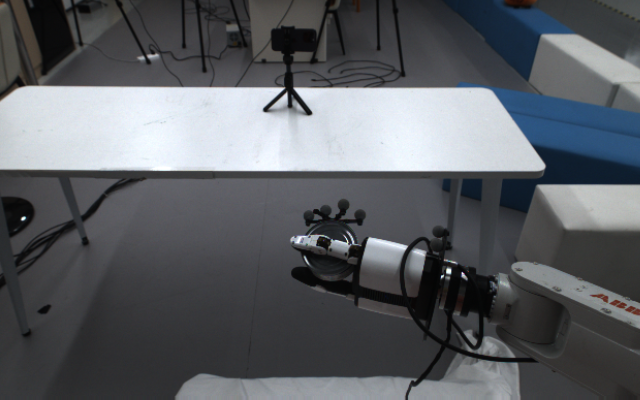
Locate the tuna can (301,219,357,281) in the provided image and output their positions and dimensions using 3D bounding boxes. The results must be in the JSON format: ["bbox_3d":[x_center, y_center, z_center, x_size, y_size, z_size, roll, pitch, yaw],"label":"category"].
[{"bbox_3d":[0.017,0.075,0.711,0.085,0.034,0.085,-6,60,10],"label":"tuna can"}]
